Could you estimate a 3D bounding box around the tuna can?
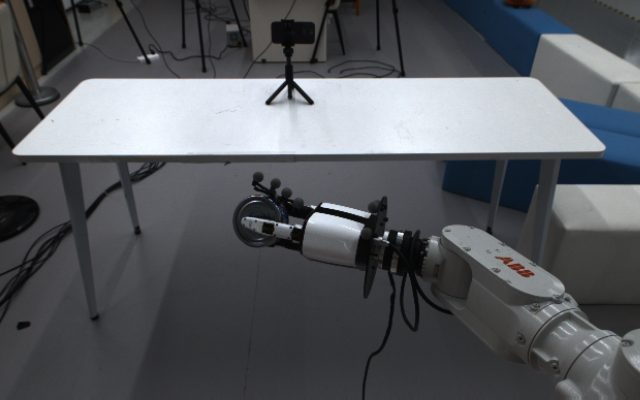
[{"bbox_3d":[-0.093,0.040,0.774,0.085,0.085,0.034,12,4,14],"label":"tuna can"}]
